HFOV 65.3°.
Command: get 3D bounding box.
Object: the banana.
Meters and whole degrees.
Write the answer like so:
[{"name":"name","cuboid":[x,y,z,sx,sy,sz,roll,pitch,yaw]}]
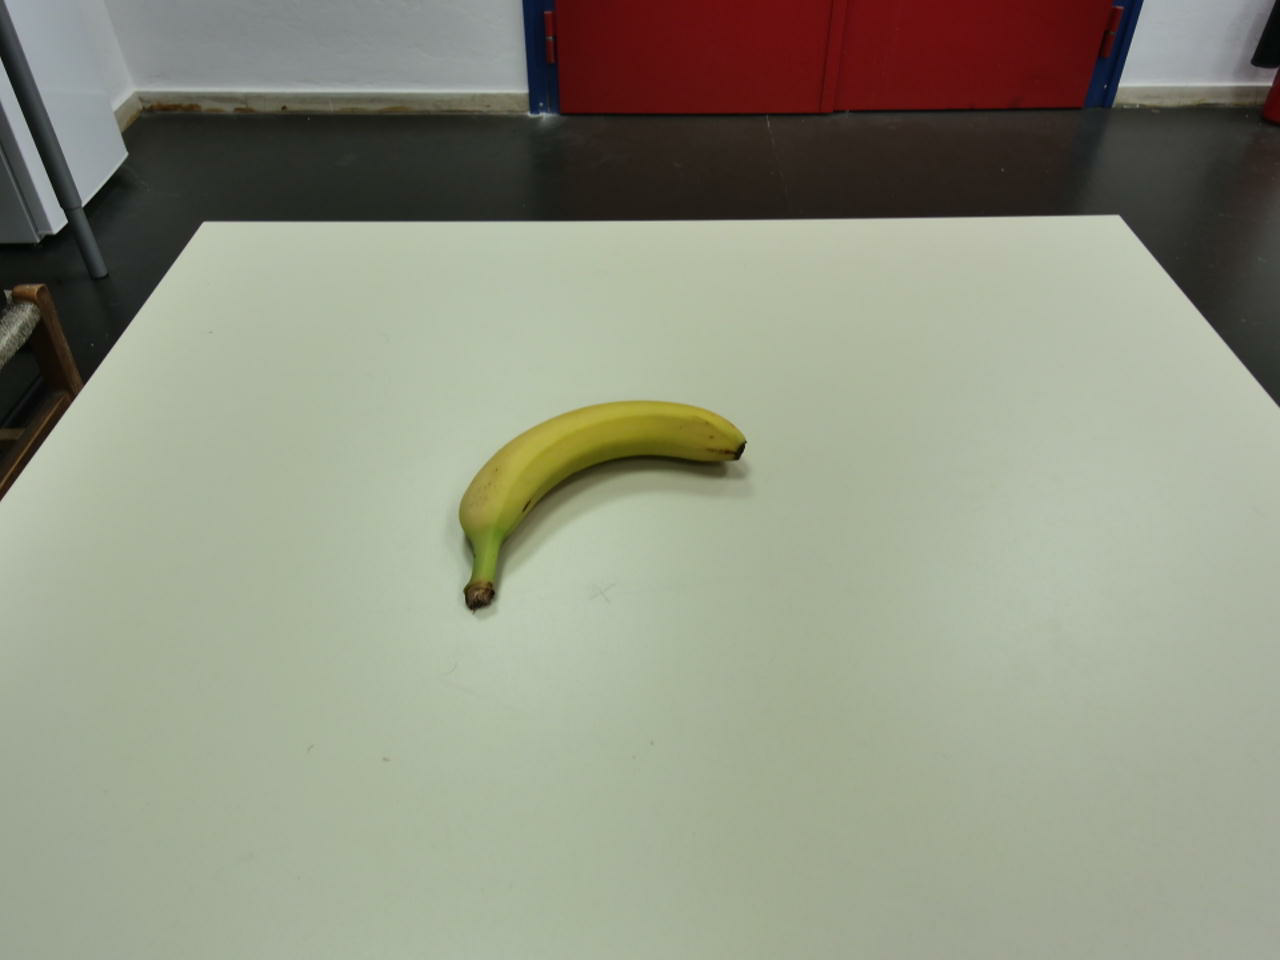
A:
[{"name":"banana","cuboid":[-0.037,-0.004,0.594,0.196,0.041,0.094,-25,45,-27]}]
